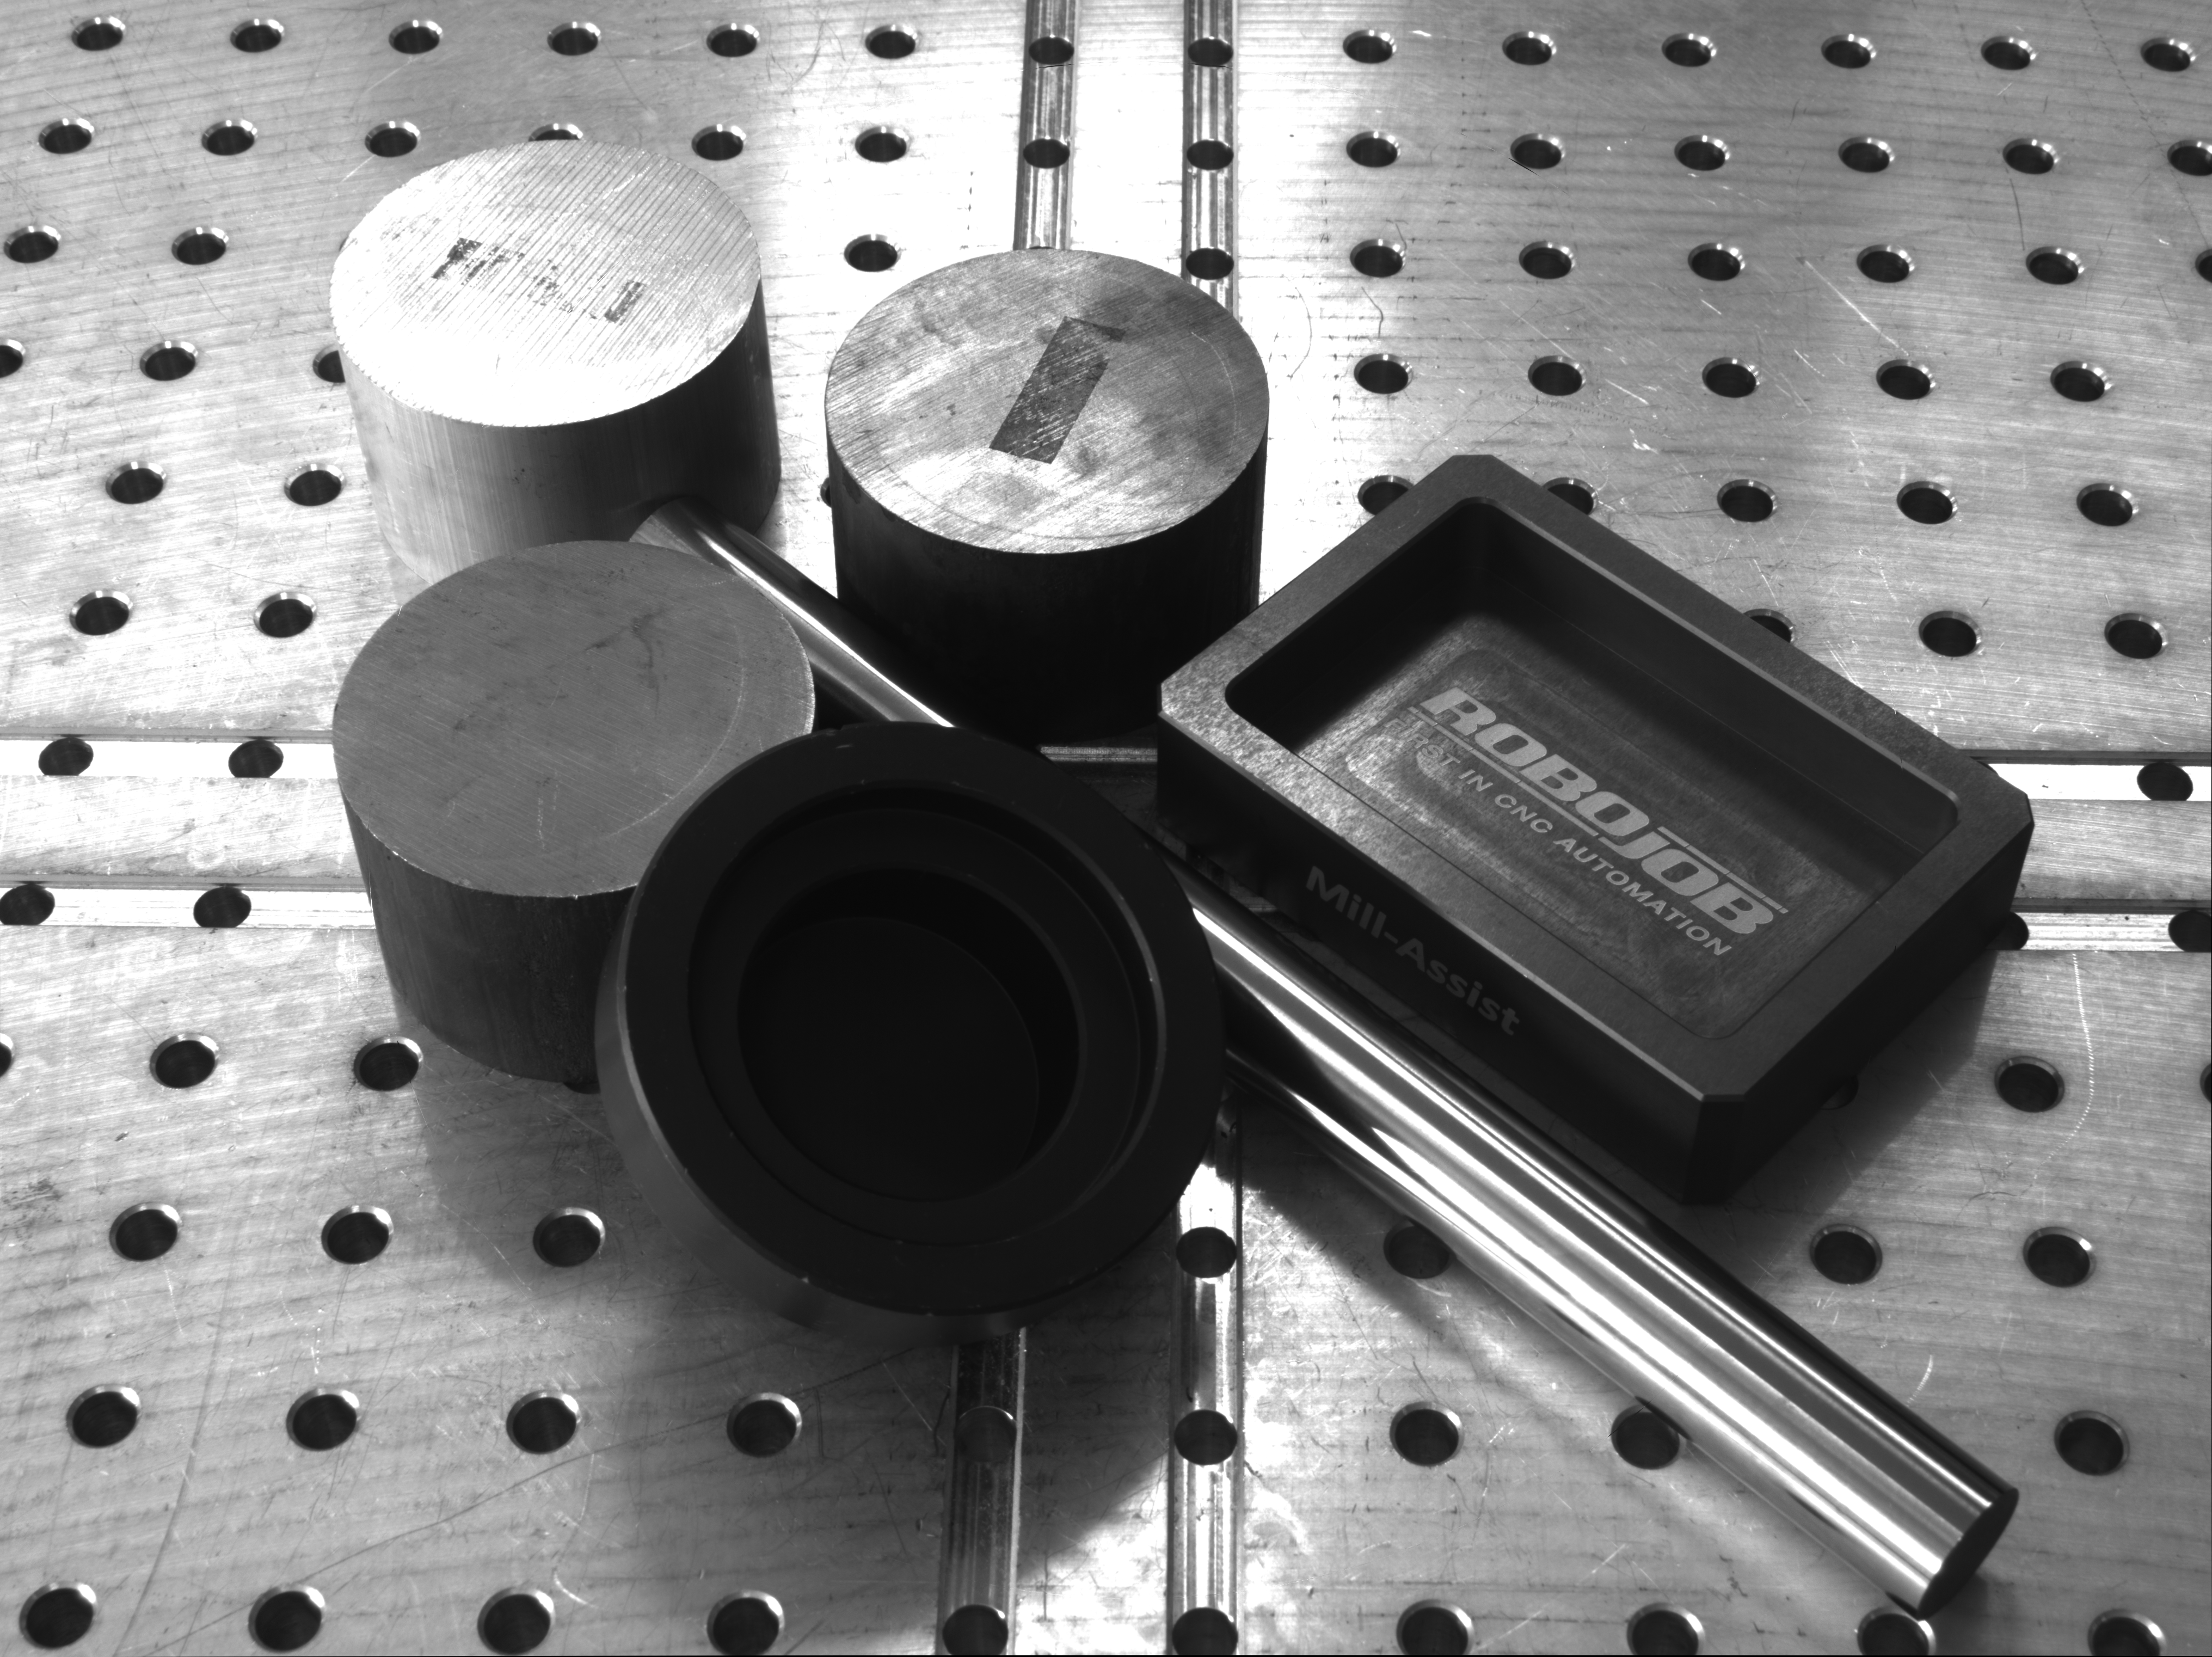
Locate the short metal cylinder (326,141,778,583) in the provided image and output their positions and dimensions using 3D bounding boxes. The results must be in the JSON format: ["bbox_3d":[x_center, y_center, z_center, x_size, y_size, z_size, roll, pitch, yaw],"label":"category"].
[{"bbox_3d":[-0.104,-0.086,0.701,0.080,0.050,0.080,0,50,0],"label":"short metal cylinder"}]

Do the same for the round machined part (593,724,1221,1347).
[{"bbox_3d":[-0.034,0.036,0.589,0.098,0.042,0.098,8,64,-16],"label":"round machined part"}]

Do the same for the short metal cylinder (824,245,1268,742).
[{"bbox_3d":[-0.011,-0.063,0.680,0.080,0.050,0.080,0,50,0],"label":"short metal cylinder"}]

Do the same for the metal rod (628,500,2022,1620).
[{"bbox_3d":[0.024,0.029,0.621,0.299,0.025,0.025,37,59,27],"label":"metal rod"}]

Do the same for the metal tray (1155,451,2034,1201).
[{"bbox_3d":[0.083,-0.004,0.644,0.130,0.030,0.090,36,59,26],"label":"metal tray"}]

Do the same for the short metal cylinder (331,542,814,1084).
[{"bbox_3d":[-0.089,-0.003,0.631,0.080,0.050,0.080,0,50,0],"label":"short metal cylinder"}]
